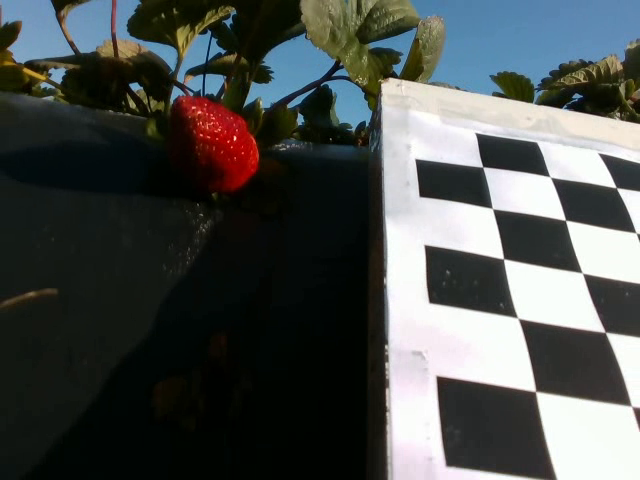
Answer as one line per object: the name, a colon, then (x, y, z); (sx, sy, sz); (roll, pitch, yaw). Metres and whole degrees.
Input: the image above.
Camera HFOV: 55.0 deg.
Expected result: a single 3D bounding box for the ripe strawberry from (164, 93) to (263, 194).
ripe strawberry: (-0.014, -0.013, 0.080); (0.015, 0.015, 0.023); (15, -10, 3)
